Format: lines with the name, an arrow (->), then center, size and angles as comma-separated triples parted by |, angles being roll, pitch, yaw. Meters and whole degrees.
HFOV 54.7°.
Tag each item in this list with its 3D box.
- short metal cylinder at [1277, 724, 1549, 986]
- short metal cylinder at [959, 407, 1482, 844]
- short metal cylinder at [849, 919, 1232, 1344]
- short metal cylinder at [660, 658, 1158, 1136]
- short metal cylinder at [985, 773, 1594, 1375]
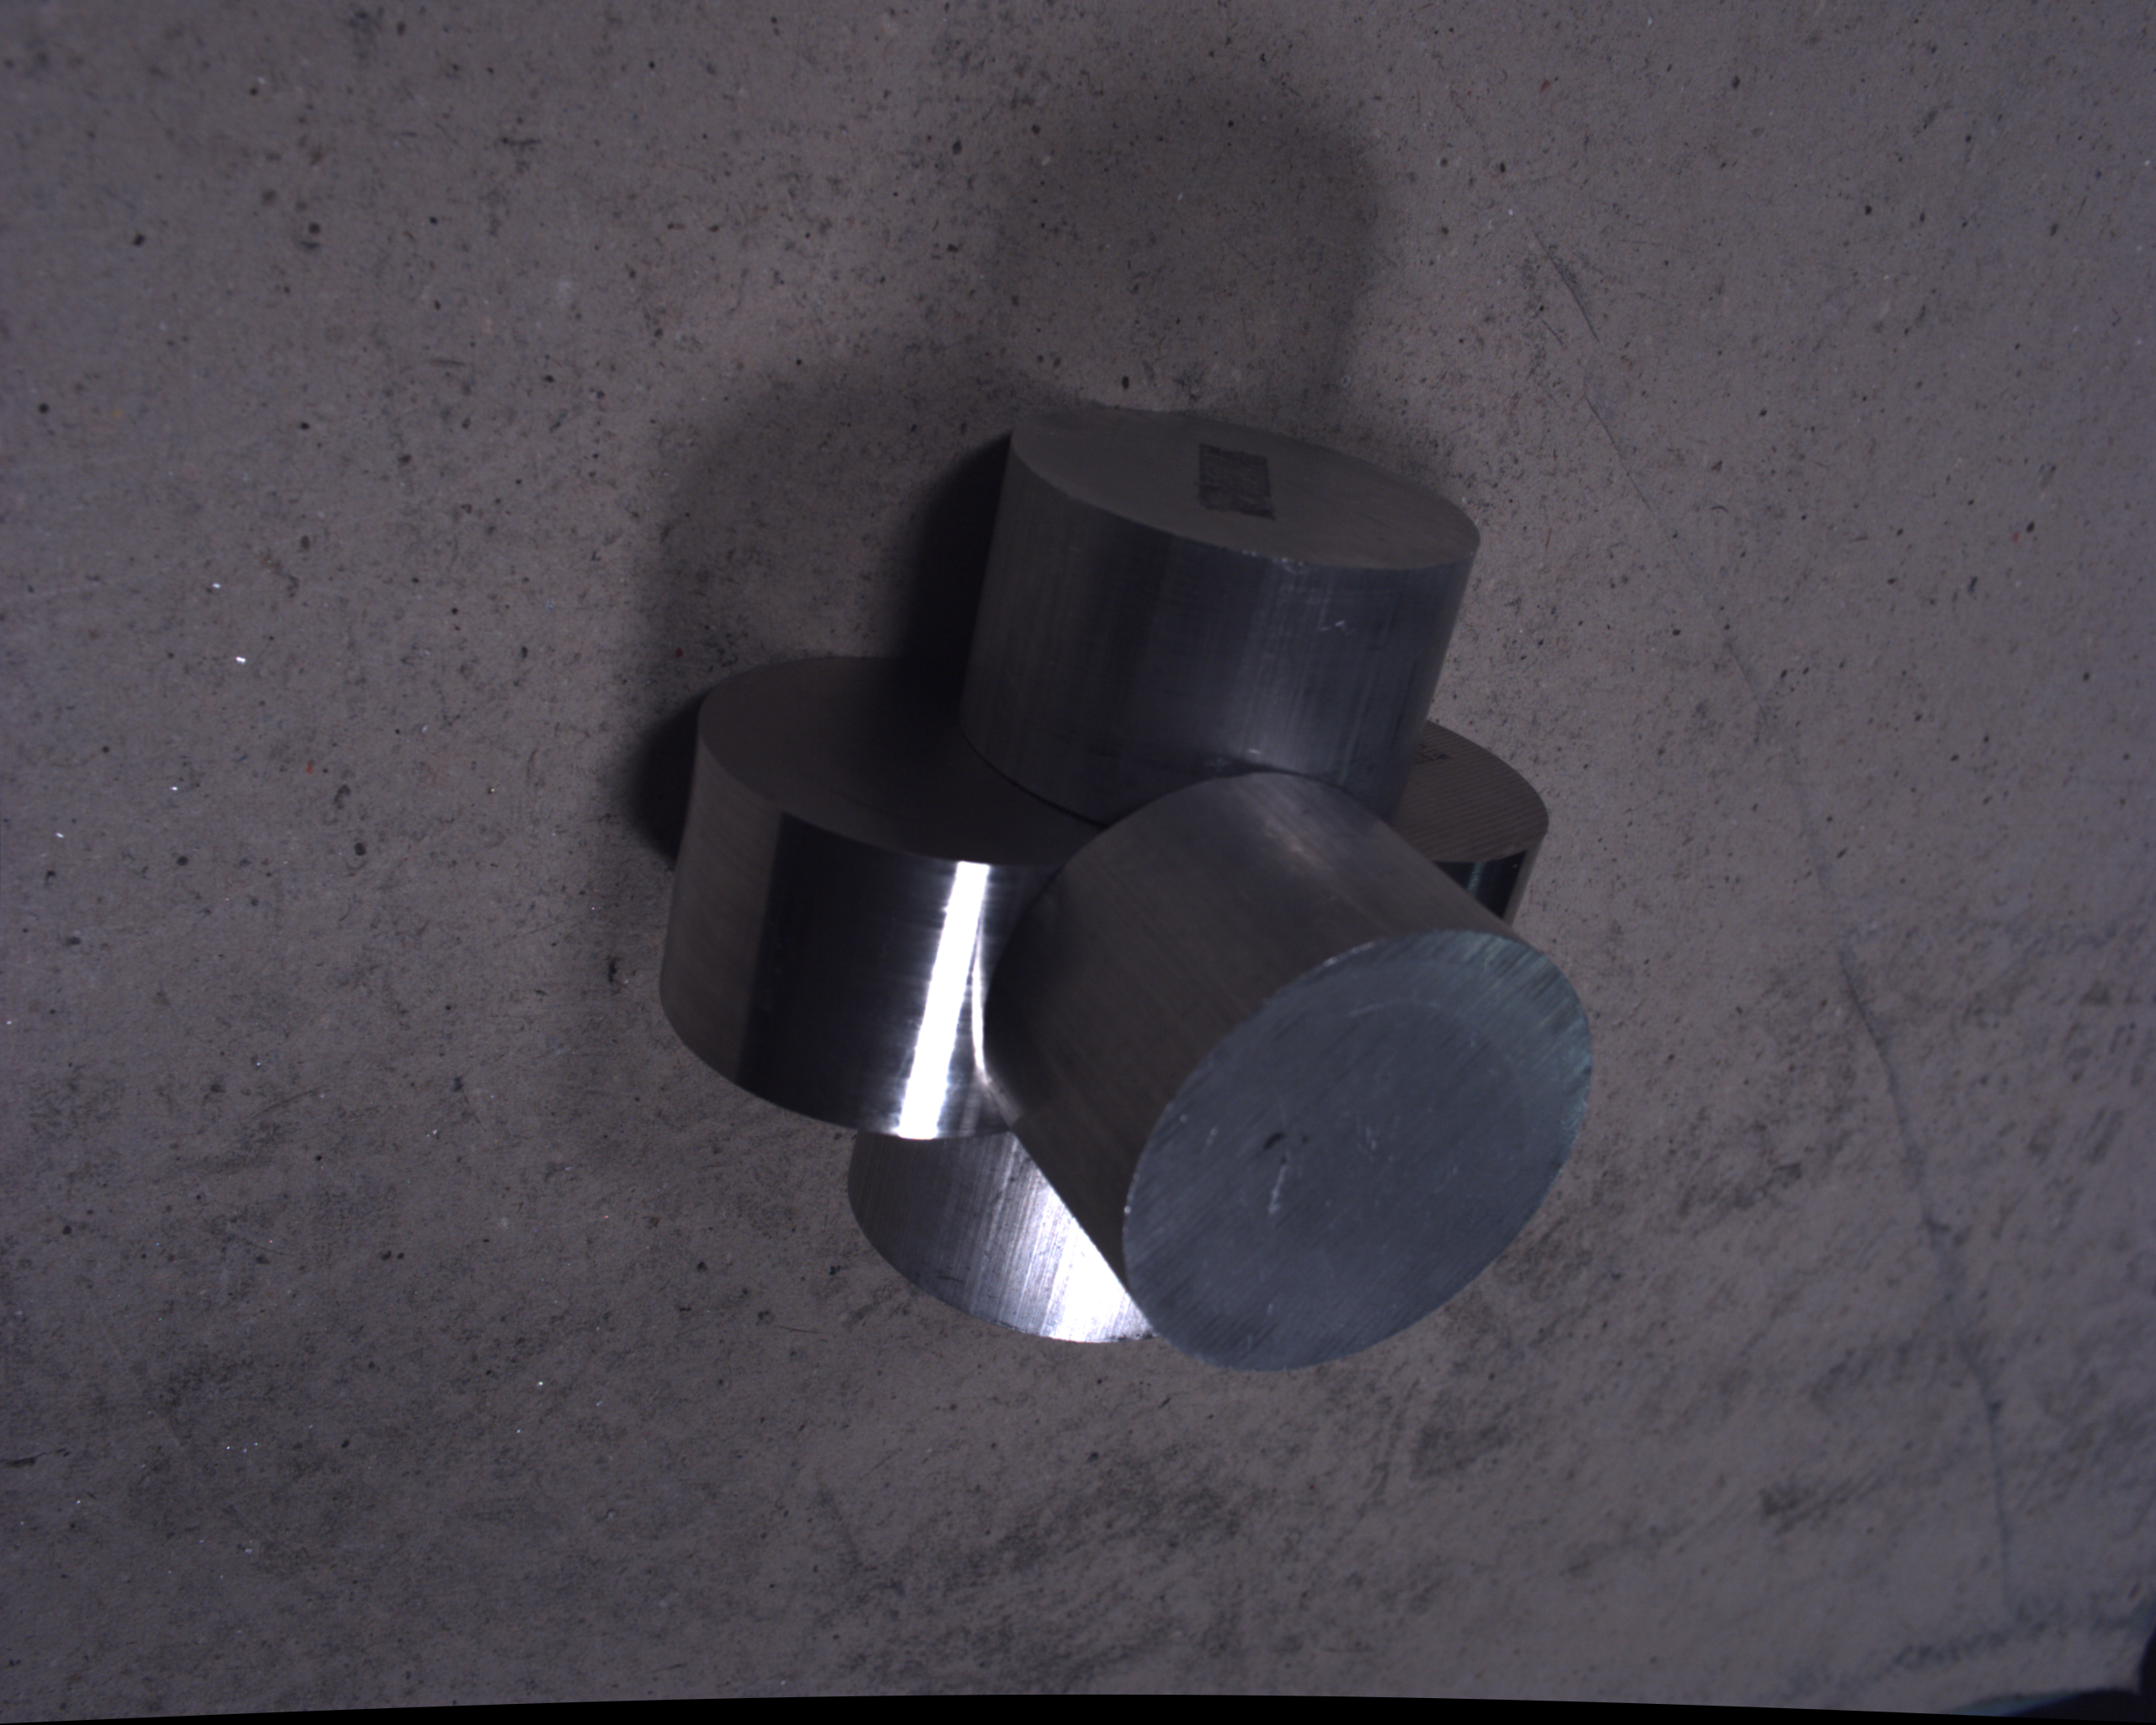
short metal cylinder -> 0.043, 0.003, 0.400 | 0.081, 0.080, 0.050 | -1, 119, -29
short metal cylinder -> 0.024, -0.042, 0.361 | 0.081, 0.080, 0.050 | -2, 119, -28
short metal cylinder -> 0.000, 0.047, 0.403 | 0.081, 0.080, 0.050 | 0, 119, -29
short metal cylinder -> -0.028, 0.004, 0.361 | 0.081, 0.080, 0.050 | -1, 119, -28
short metal cylinder -> 0.032, 0.033, 0.327 | 0.081, 0.050, 0.079 | -14, 125, -21
